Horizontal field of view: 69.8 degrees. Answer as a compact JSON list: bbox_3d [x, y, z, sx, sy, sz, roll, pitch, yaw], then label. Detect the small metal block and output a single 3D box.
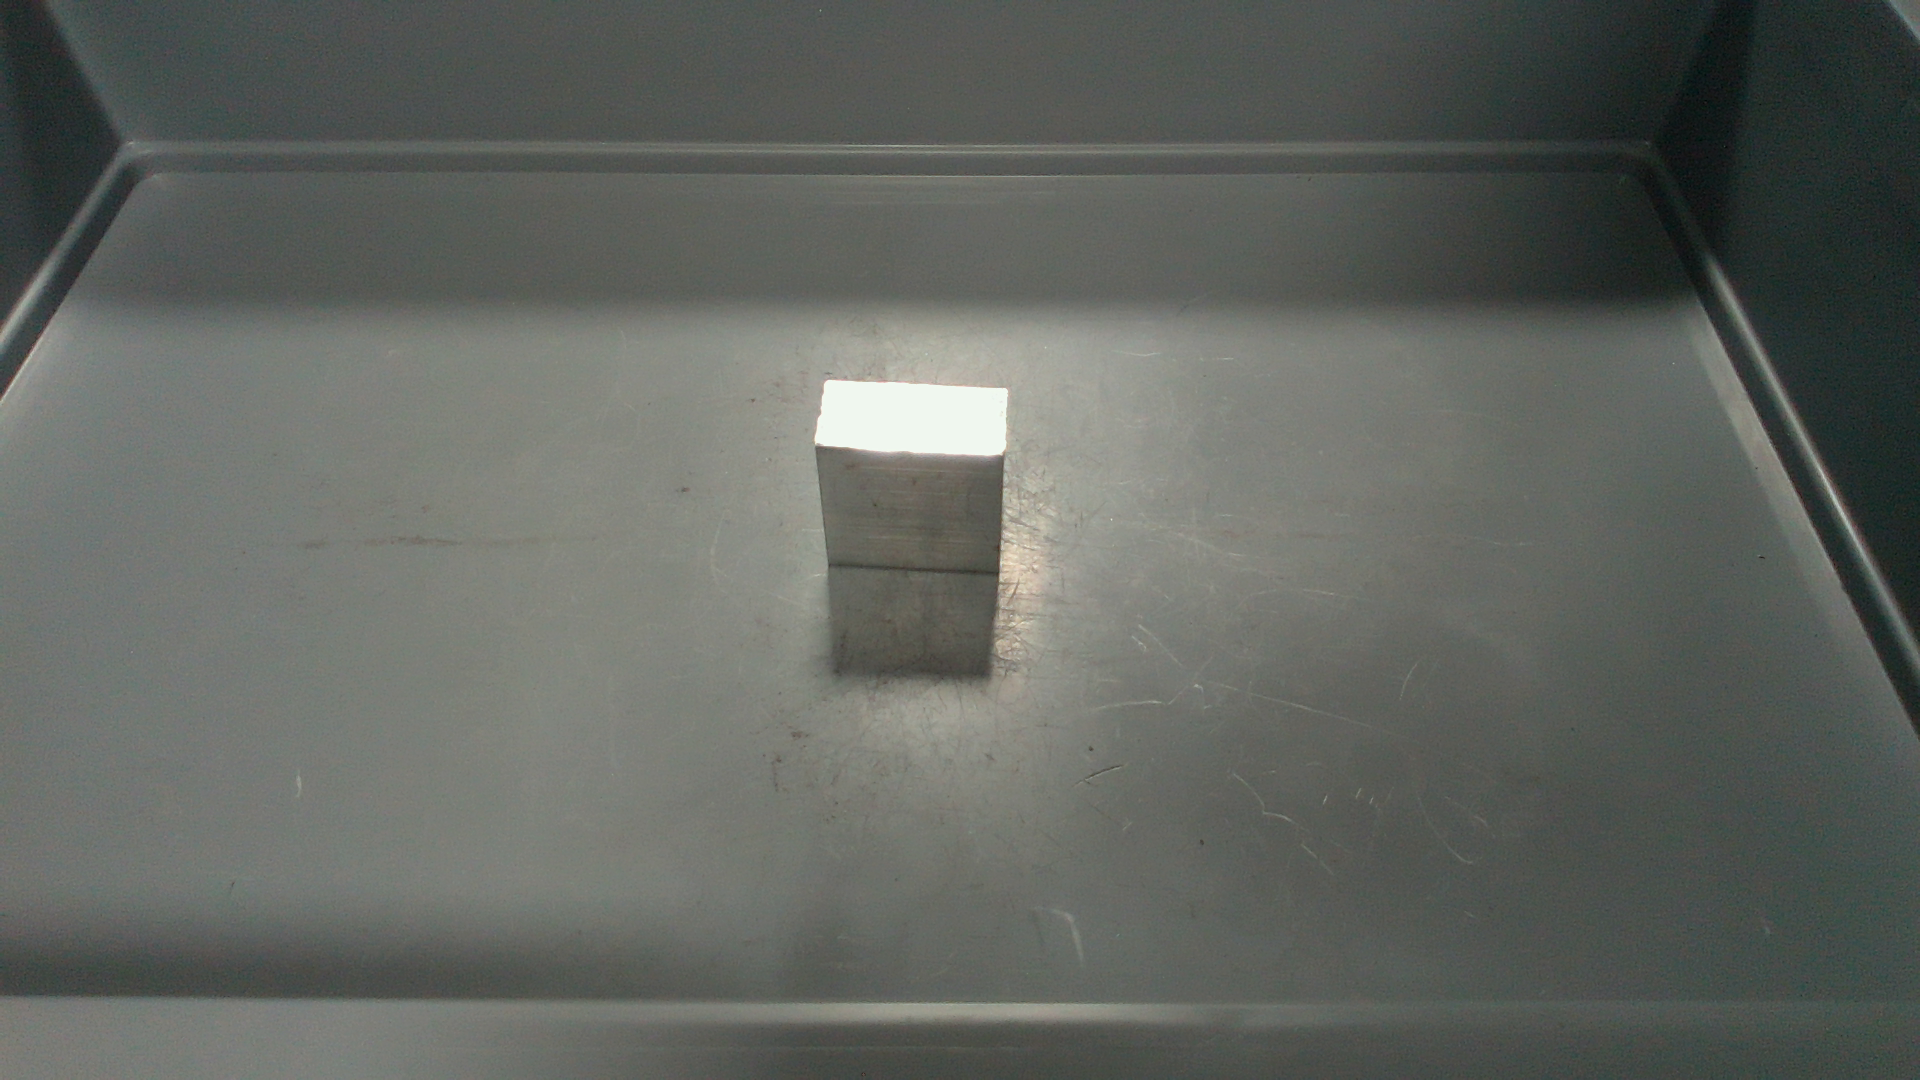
[{"bbox_3d":[-0.013,-0.017,0.386,0.050,0.050,0.025,2,50,2],"label":"small metal block"}]
